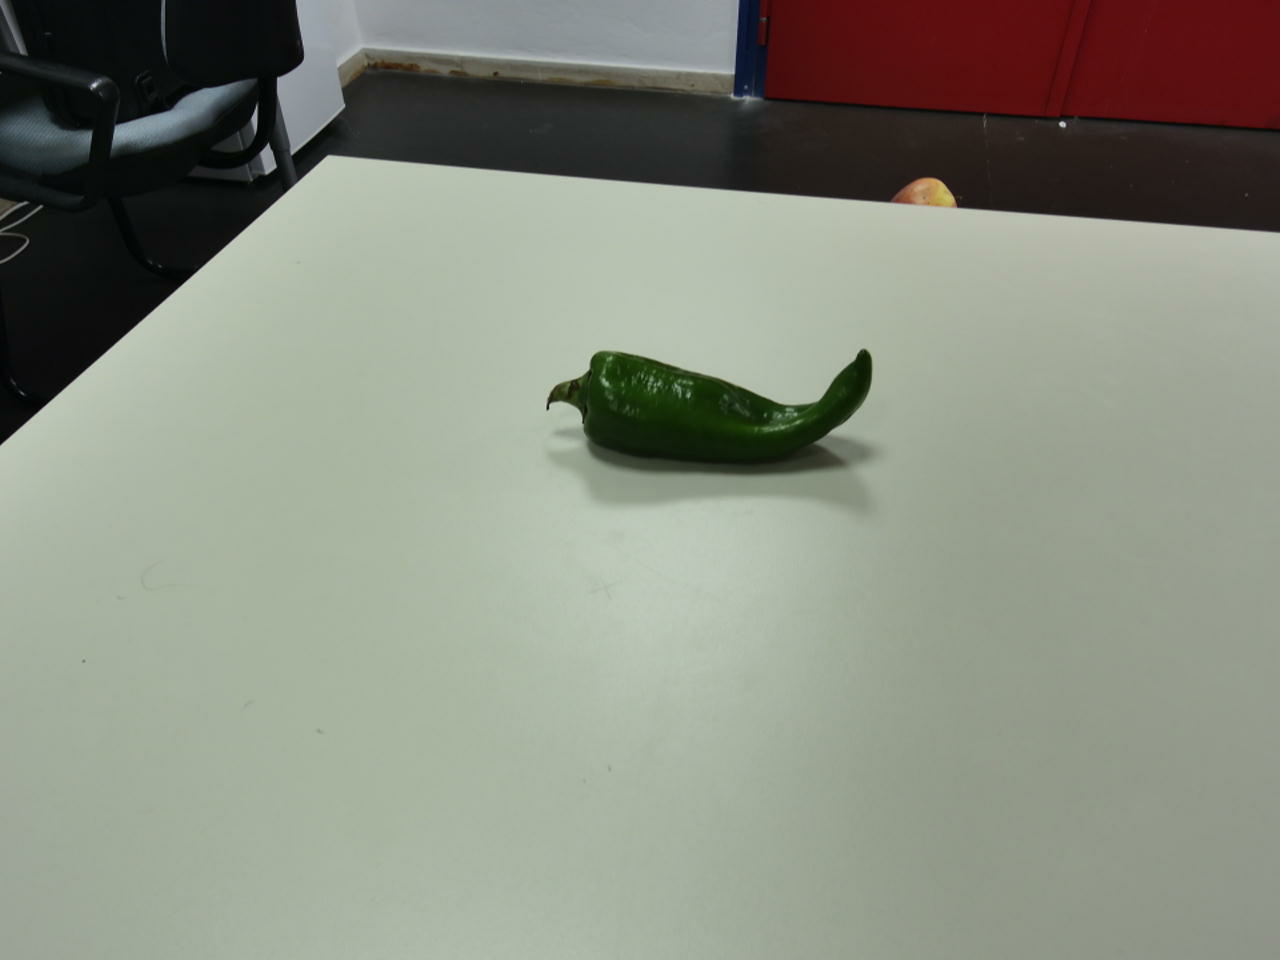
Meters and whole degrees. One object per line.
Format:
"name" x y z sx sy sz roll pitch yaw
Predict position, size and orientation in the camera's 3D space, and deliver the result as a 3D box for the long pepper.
"long pepper" 0.034 -0.044 0.539 0.175 0.065 0.058 7 39 9
